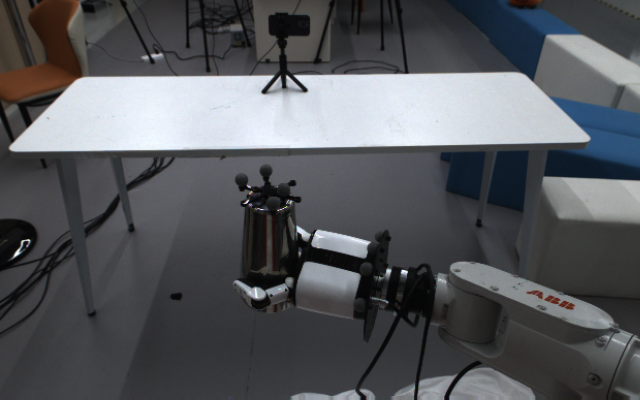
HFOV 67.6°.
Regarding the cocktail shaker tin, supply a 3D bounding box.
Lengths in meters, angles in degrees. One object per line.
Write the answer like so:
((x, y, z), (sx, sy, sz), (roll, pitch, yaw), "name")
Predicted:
((-0.071, 0.067, 0.689), (0.093, 0.170, 0.093), (3, 34, -2), "cocktail shaker tin")
